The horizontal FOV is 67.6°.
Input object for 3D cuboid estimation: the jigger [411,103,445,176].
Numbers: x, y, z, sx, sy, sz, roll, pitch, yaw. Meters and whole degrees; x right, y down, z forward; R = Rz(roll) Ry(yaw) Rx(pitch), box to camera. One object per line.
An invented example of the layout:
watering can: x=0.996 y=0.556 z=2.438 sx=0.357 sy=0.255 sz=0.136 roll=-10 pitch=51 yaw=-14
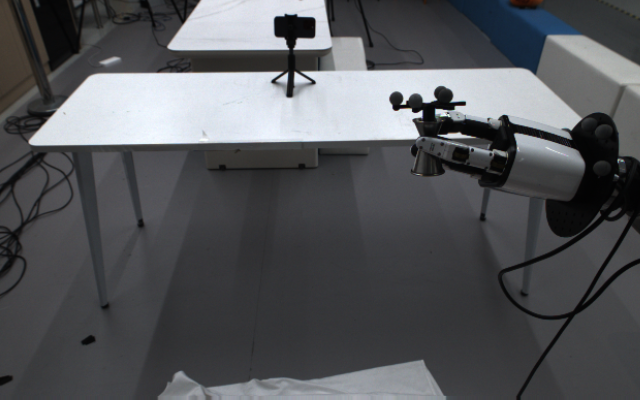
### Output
jigger: x=0.136 y=-0.069 z=0.613 sx=0.043 sy=0.071 sz=0.043 roll=-2 pitch=19 yaw=1
